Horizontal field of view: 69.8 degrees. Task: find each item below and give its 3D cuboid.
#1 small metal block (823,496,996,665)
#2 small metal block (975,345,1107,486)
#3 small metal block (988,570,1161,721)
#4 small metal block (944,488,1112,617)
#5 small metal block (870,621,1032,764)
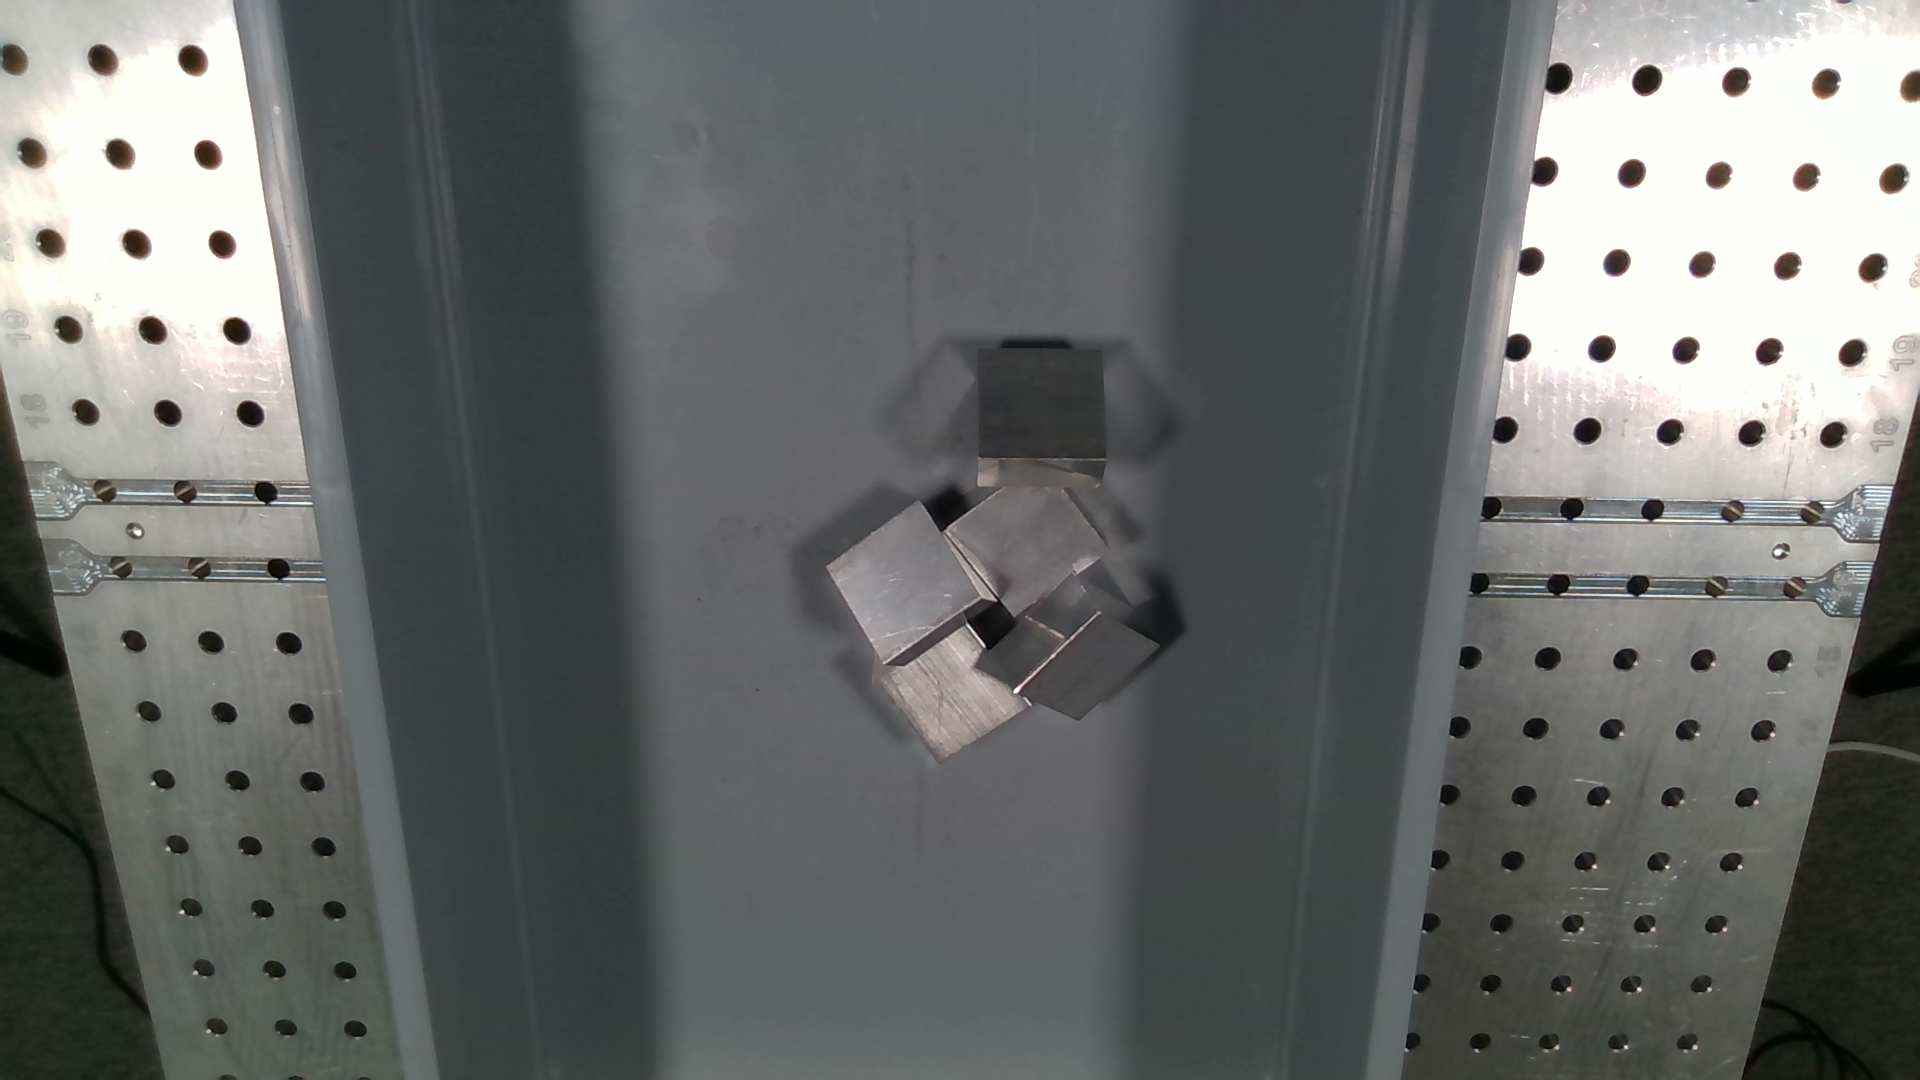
[{"bbox_3d":[-0.021,0.018,0.578,0.050,0.025,0.050,-35,75,12],"label":"small metal block"},{"bbox_3d":[0.031,-0.049,0.550,0.050,0.025,0.050,0,67,-1],"label":"small metal block"},{"bbox_3d":[0.049,0.046,0.588,0.050,0.025,0.050,-45,139,15],"label":"small metal block"},{"bbox_3d":[0.028,-0.005,0.582,0.050,0.025,0.050,-36,106,12],"label":"small metal block"},{"bbox_3d":[-0.004,0.062,0.606,0.050,0.025,0.050,-34,107,12],"label":"small metal block"}]
